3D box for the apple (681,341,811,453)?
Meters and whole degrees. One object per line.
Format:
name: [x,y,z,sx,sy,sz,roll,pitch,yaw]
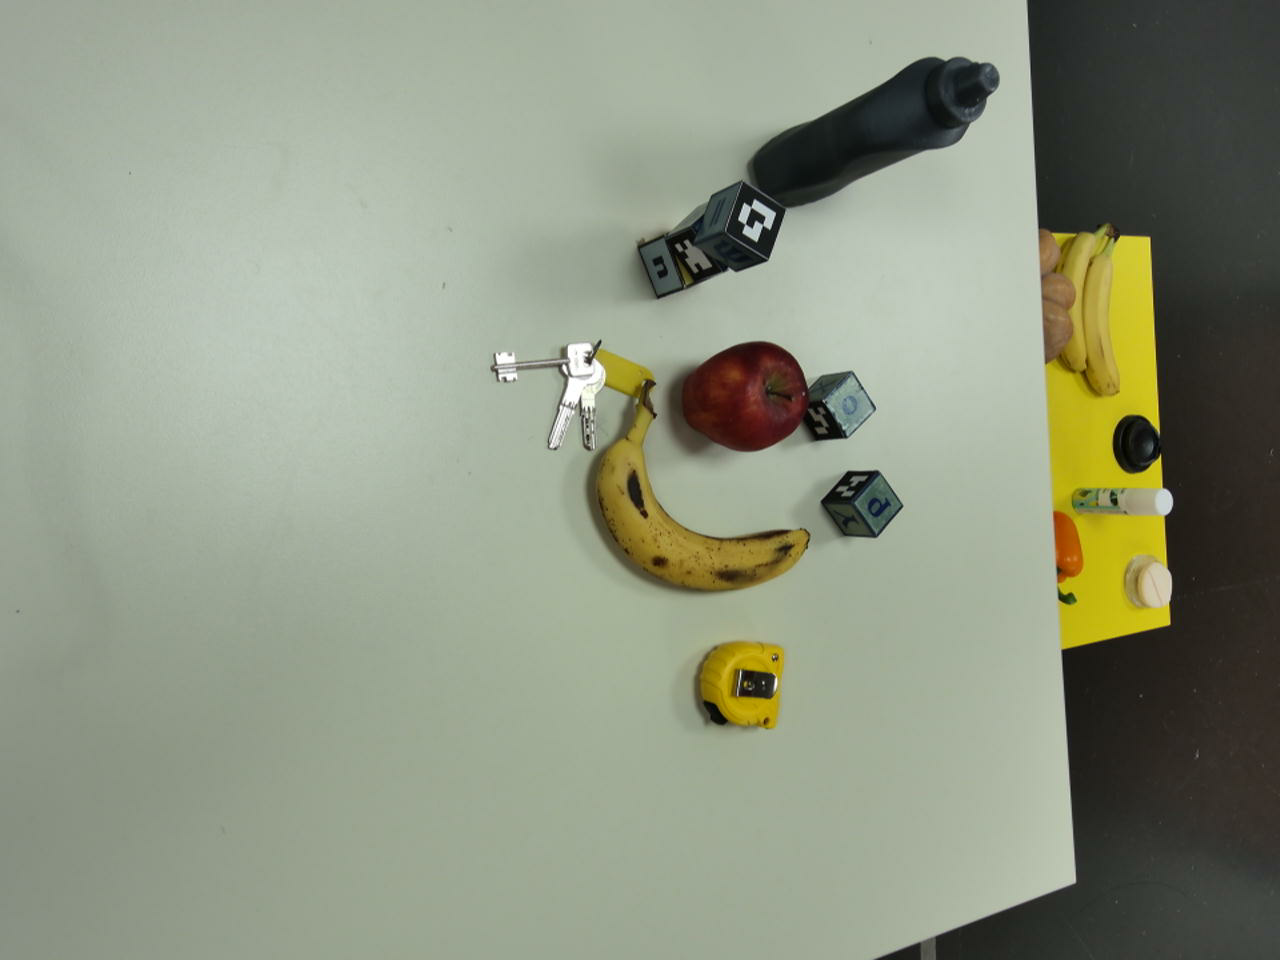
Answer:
apple: [0.077,-0.059,0.699,0.083,0.090,0.083,0,90,-28]
